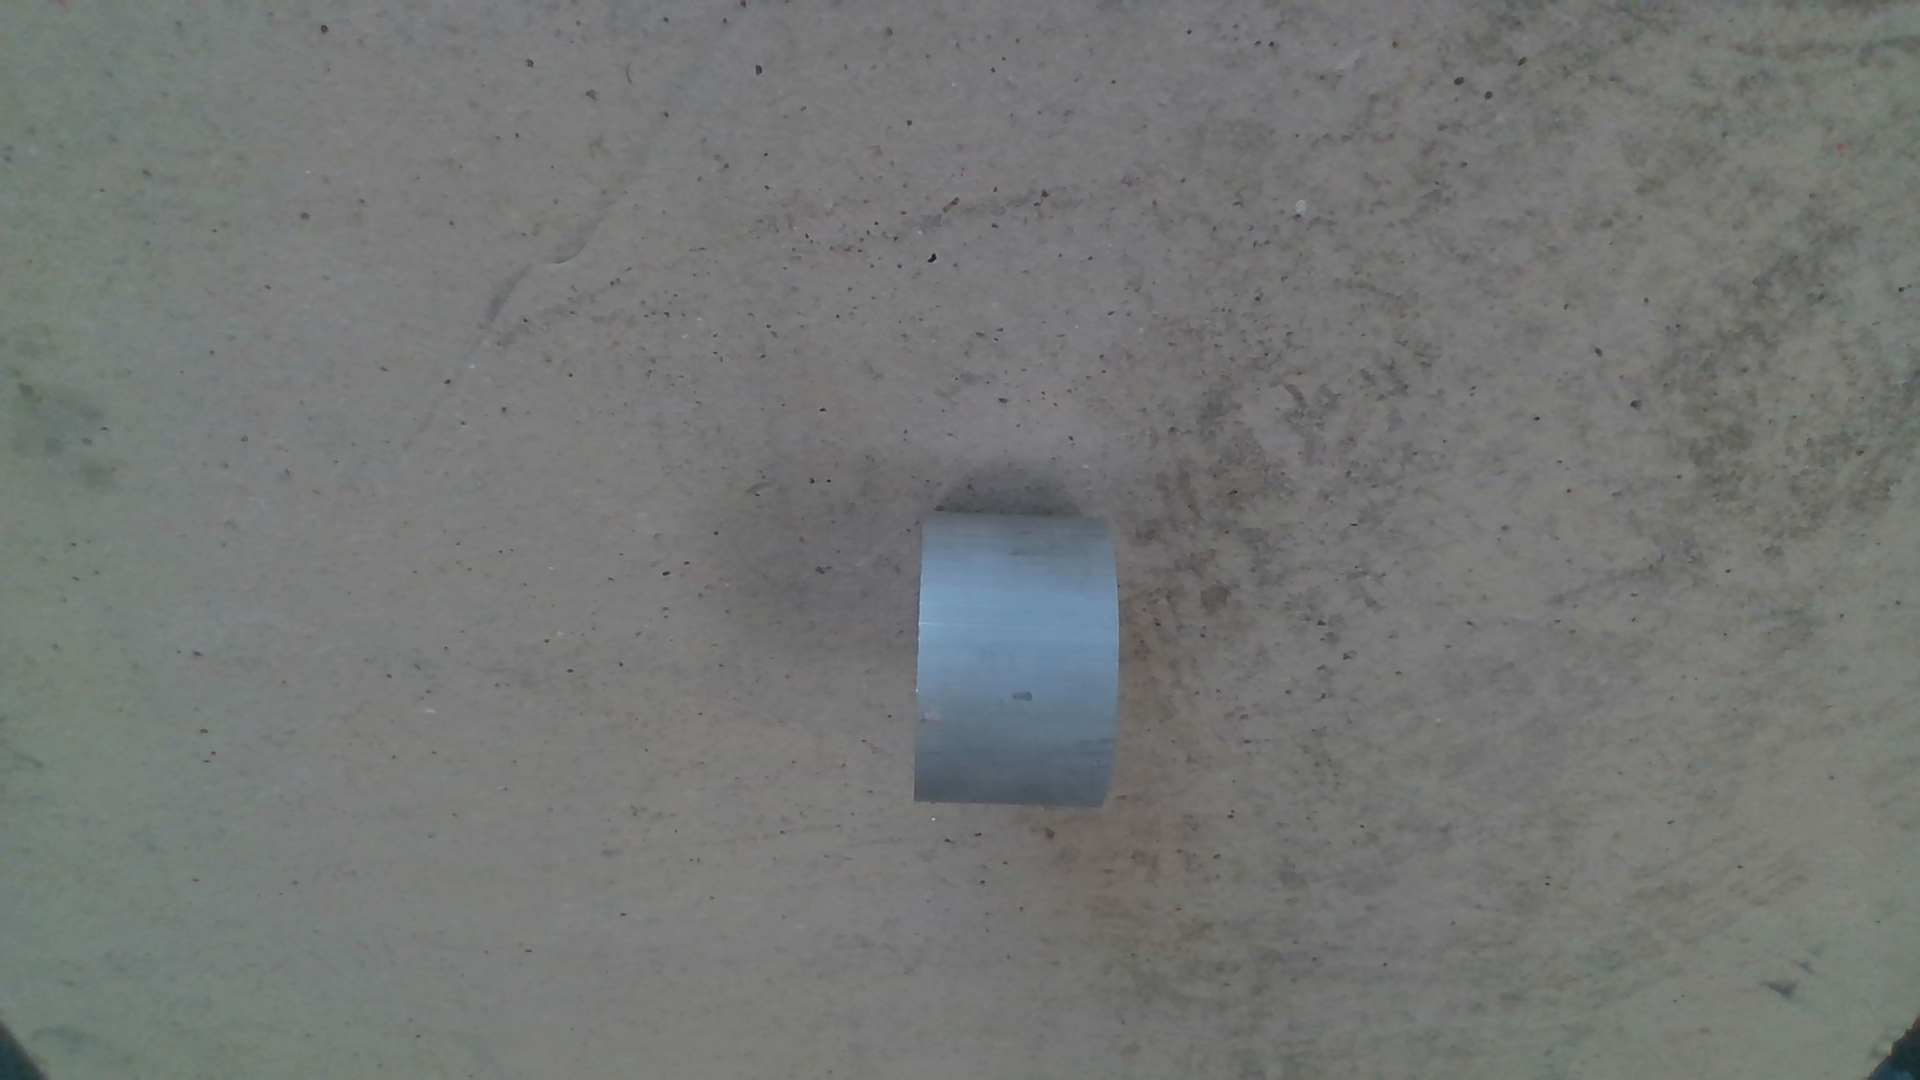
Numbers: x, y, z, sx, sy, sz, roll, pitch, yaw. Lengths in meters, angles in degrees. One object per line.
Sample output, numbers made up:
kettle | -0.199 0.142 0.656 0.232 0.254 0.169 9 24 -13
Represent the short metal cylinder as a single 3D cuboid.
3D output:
short metal cylinder | 0.013 0.032 0.380 0.050 0.080 0.080 1 130 -1
